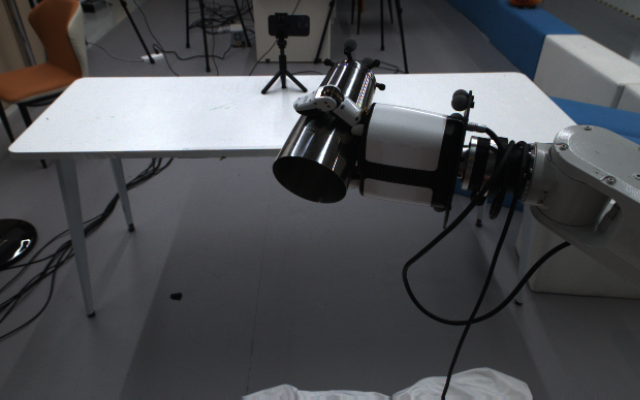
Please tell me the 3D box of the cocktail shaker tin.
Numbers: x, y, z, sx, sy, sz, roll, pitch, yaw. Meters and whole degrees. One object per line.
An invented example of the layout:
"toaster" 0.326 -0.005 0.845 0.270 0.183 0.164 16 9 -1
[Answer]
"cocktail shaker tin" 0.014 -0.090 0.599 0.093 0.093 0.170 14 61 17
